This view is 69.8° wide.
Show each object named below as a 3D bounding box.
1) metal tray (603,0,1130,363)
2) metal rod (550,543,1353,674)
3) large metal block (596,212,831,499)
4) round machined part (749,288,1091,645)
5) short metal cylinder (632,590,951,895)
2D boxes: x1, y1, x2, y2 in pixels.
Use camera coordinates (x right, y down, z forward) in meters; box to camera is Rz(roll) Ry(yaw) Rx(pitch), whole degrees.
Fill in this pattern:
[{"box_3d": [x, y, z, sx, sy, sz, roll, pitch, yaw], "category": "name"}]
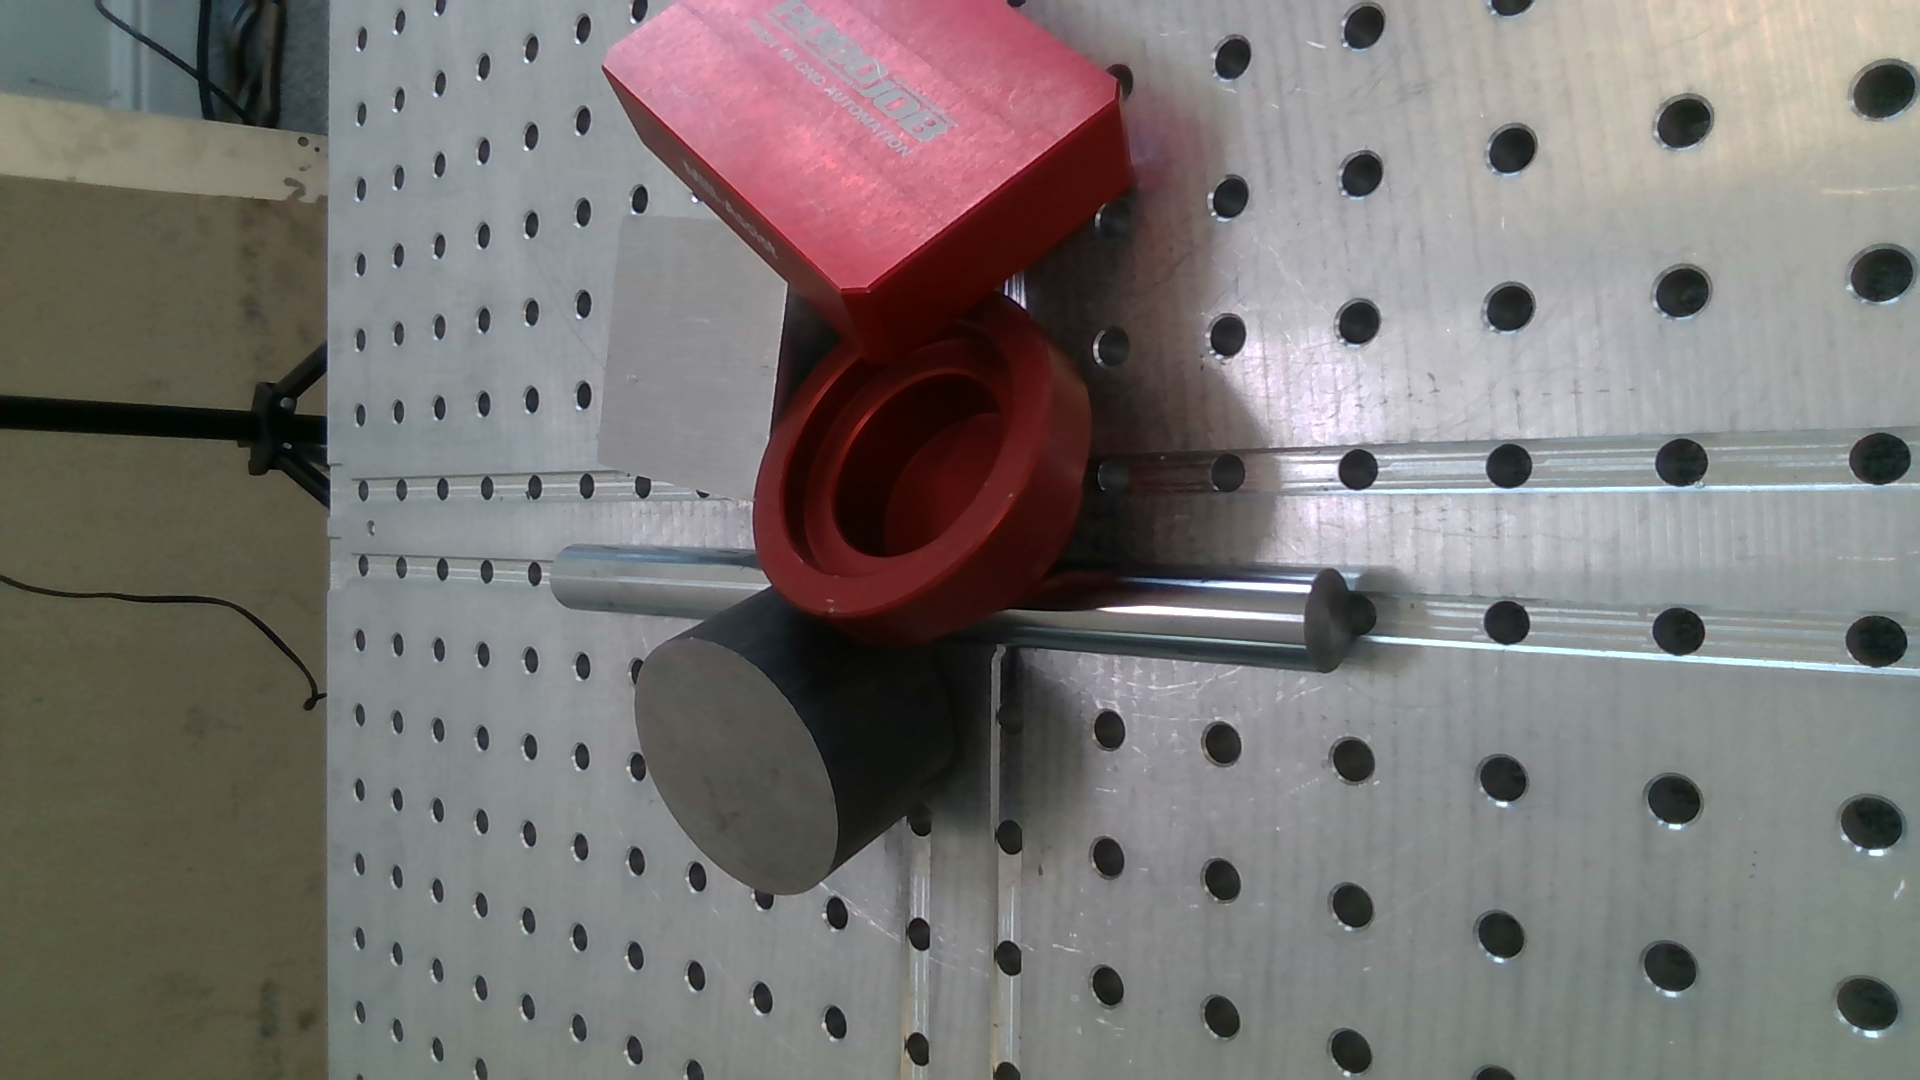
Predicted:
[{"box_3d": [-0.028, -0.117, 0.381, 0.090, 0.030, 0.130, -39, 59, -9], "category": "metal tray"}, {"box_3d": [-0.028, 0.016, 0.418, 0.300, 0.025, 0.025, 1, 91, 40], "category": "metal rod"}, {"box_3d": [-0.066, -0.057, 0.433, 0.080, 0.050, 0.080, 13, 99, 39], "category": "large metal block"}, {"box_3d": [-0.007, -0.017, 0.372, 0.098, 0.042, 0.098, -20, 53, 29], "category": "round machined part"}, {"box_3d": [-0.050, 0.055, 0.403, 0.080, 0.050, 0.080, 18, 121, 33], "category": "short metal cylinder"}]
